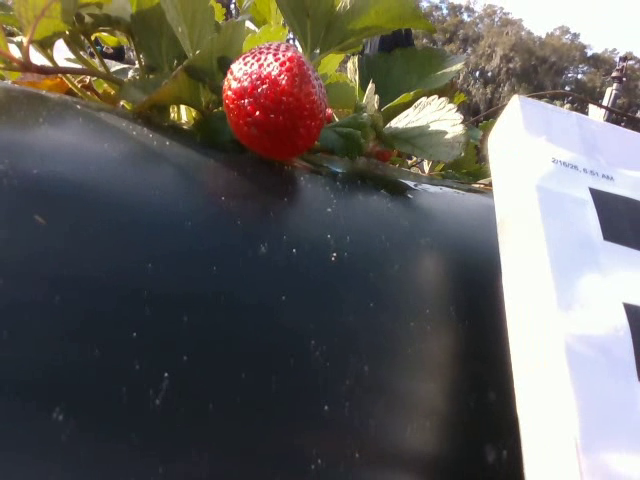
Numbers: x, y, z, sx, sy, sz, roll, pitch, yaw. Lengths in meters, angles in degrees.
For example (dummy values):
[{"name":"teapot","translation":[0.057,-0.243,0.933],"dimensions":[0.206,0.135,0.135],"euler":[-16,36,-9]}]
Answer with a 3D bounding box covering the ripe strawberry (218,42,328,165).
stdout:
[{"name":"ripe strawberry","translation":[-0.011,-0.045,0.178],"dimensions":[0.041,0.041,0.047],"euler":[-16,1,-17]}]
